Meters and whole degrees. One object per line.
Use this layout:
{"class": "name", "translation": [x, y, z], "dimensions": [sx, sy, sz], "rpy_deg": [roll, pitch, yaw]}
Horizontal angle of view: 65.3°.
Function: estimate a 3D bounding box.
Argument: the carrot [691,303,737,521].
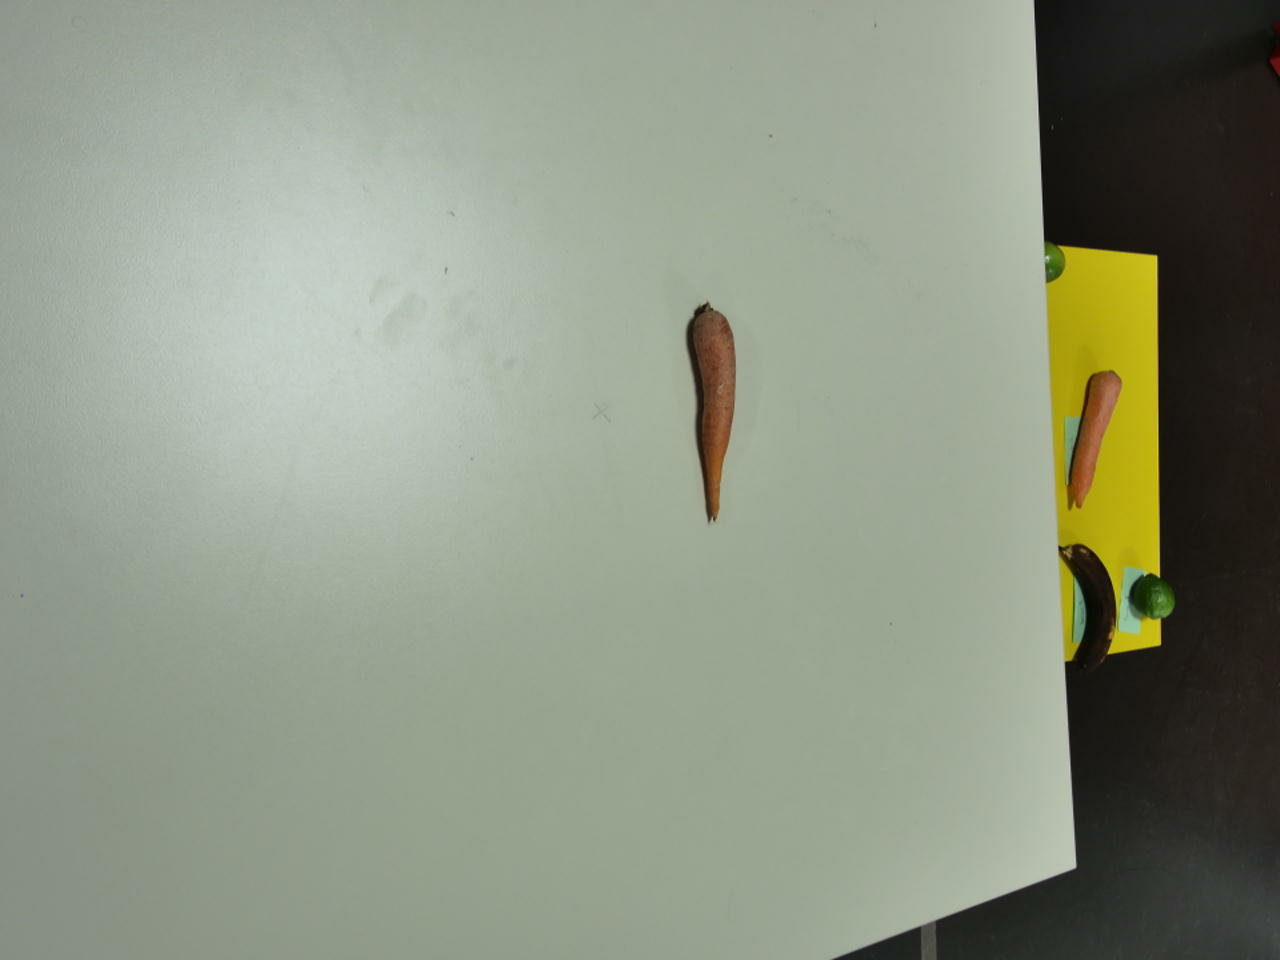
{"class": "carrot", "translation": [0.058, -0.050, 0.743], "dimensions": [0.031, 0.029, 0.163], "rpy_deg": [-5, 93, -28]}
